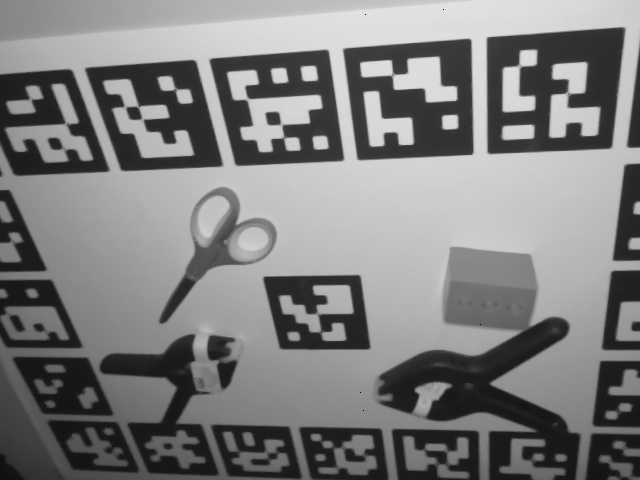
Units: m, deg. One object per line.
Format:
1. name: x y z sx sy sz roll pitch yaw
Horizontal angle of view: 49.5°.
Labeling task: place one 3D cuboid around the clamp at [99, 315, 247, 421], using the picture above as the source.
1. clamp: -0.150 0.129 0.763 0.163 0.037 0.122 -26 107 22

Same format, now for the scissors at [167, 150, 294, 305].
1. scissors: -0.102 0.003 0.683 0.088 0.016 0.200 37 121 -5

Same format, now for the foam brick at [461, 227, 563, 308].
1. foam brick: 0.174 0.024 0.638 0.078 0.052 0.052 4 120 1

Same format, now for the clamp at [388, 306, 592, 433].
1. clamp: 0.171 0.138 0.713 0.202 0.037 0.164 -4 123 12
